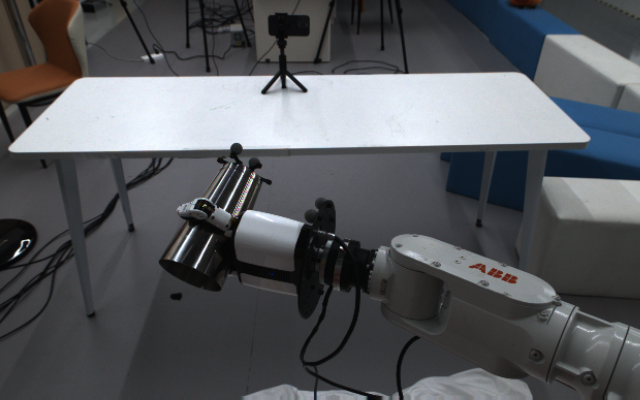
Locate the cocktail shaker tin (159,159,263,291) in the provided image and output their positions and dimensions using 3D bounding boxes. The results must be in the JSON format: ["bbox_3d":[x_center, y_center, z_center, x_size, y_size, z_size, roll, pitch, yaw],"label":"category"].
[{"bbox_3d":[-0.147,0.034,0.686,0.093,0.093,0.170,14,61,17],"label":"cocktail shaker tin"}]
